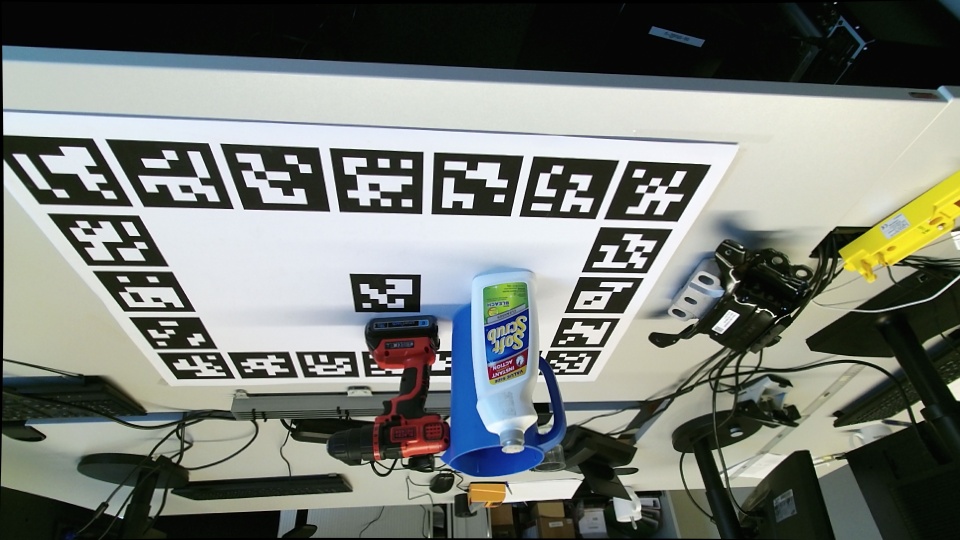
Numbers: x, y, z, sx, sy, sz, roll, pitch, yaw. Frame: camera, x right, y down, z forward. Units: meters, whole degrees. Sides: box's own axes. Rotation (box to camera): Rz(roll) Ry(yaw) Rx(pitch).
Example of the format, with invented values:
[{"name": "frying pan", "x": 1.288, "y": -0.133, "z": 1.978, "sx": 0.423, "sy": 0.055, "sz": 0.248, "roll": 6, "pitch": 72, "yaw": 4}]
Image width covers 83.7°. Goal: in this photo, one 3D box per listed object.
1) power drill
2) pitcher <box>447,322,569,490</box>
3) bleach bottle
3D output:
[{"name": "power drill", "x": -0.140, "y": 0.201, "z": 0.818, "sx": 0.185, "sy": 0.186, "sz": 0.057, "roll": 1, "pitch": 137, "yaw": 1}, {"name": "pitcher", "x": 0.029, "y": 0.197, "z": 0.819, "sx": 0.189, "sy": 0.241, "sz": 0.133, "roll": -18, "pitch": 138, "yaw": 13}, {"name": "bleach bottle", "x": 0.052, "y": 0.147, "z": 0.730, "sx": 0.103, "sy": 0.249, "sz": 0.068, "roll": -5, "pitch": 140, "yaw": -2}]
